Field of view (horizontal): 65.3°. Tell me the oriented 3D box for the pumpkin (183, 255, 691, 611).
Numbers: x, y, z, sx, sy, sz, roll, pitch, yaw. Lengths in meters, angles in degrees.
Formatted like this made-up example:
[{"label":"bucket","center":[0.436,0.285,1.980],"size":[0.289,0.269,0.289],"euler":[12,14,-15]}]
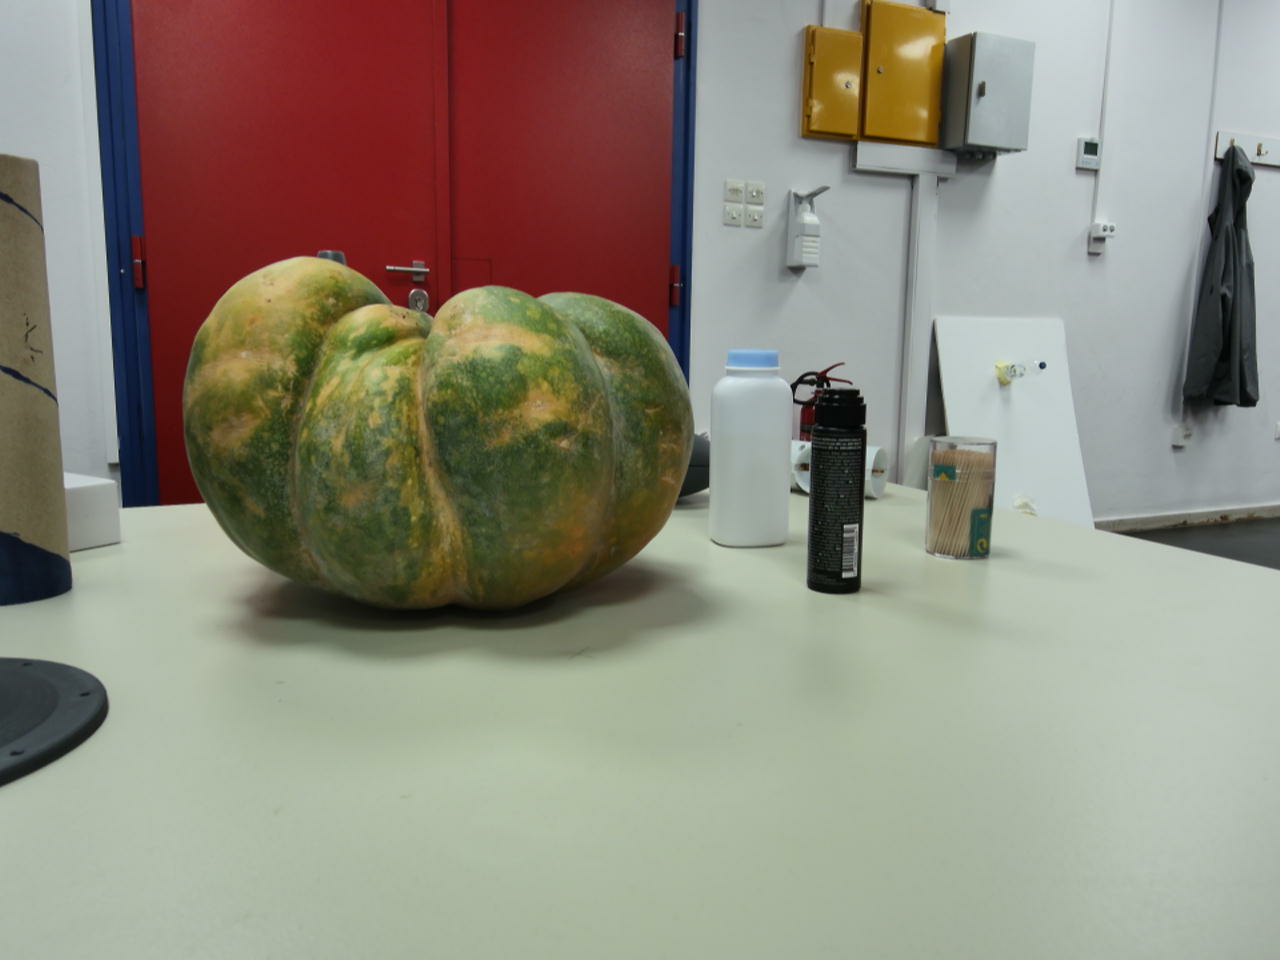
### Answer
[{"label":"pumpkin","center":[-0.105,-0.024,0.533],"size":[0.270,0.173,0.237],"euler":[1,7,12]}]
